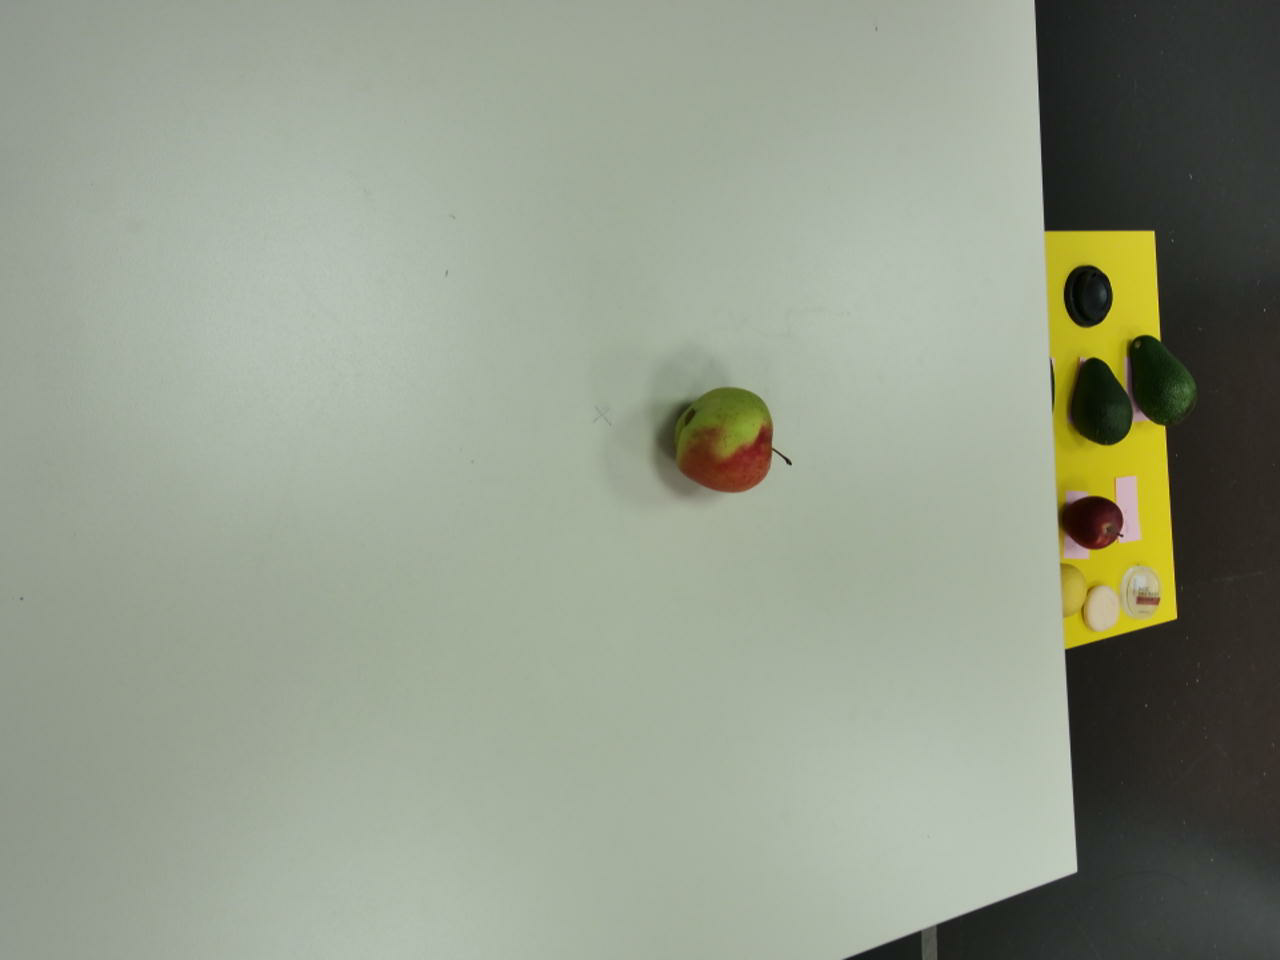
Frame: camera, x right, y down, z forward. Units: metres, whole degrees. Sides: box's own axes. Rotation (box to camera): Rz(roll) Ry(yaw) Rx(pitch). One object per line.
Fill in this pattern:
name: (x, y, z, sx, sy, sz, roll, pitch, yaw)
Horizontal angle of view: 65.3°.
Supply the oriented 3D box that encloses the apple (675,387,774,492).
apple: (0.062, -0.027, 0.717, 0.075, 0.074, 0.075, -26, 103, -26)
